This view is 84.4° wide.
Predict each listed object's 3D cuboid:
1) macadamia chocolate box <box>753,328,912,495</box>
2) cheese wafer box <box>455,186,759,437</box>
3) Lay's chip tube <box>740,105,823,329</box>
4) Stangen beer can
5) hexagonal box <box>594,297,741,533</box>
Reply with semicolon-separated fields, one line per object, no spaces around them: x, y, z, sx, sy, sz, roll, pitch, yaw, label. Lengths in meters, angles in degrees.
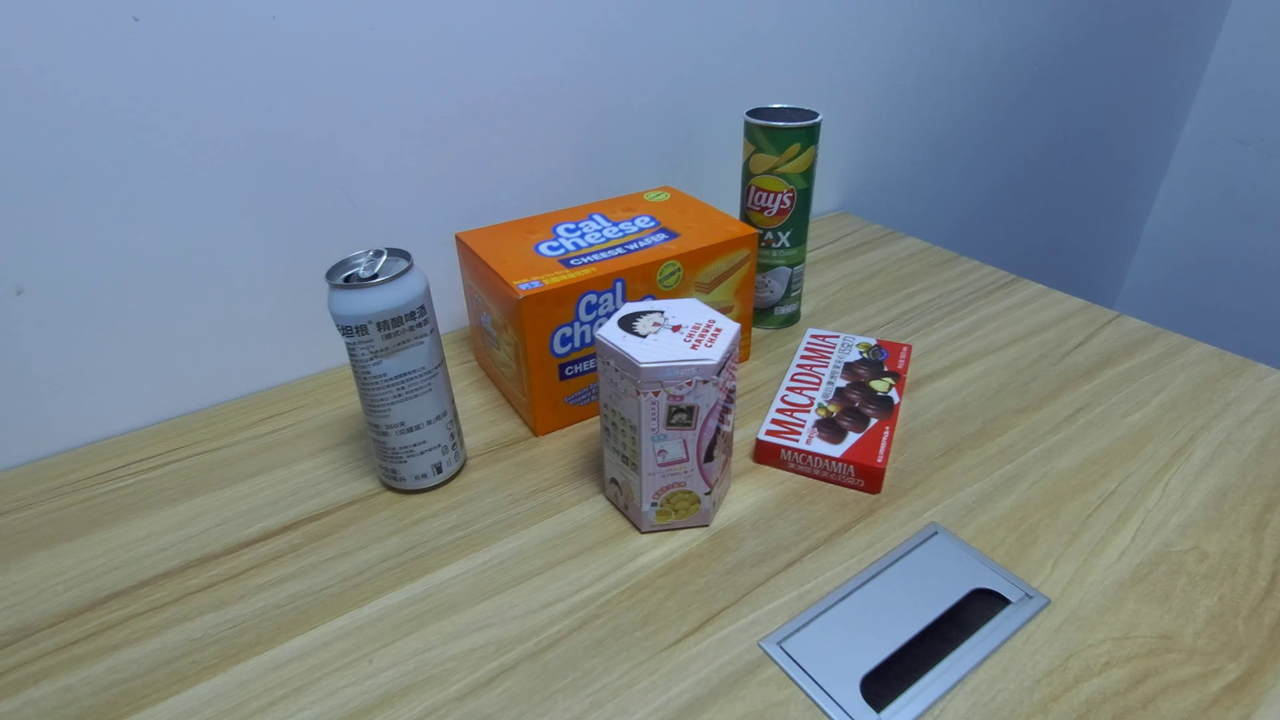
0.163;0.033;0.577;0.095;0.027;0.178;13;35;21;macadamia chocolate box
-0.027;-0.055;0.630;0.222;0.129;0.147;-19;37;-26;cheese wafer box
0.129;-0.132;0.673;0.071;0.203;0.071;-1;32;1;Lay's chip tube
-0.169;0.009;0.492;0.069;0.173;0.070;23;39;37;Stangen beer can
0.020;0.037;0.469;0.083;0.136;0.091;11;34;20;hexagonal box
